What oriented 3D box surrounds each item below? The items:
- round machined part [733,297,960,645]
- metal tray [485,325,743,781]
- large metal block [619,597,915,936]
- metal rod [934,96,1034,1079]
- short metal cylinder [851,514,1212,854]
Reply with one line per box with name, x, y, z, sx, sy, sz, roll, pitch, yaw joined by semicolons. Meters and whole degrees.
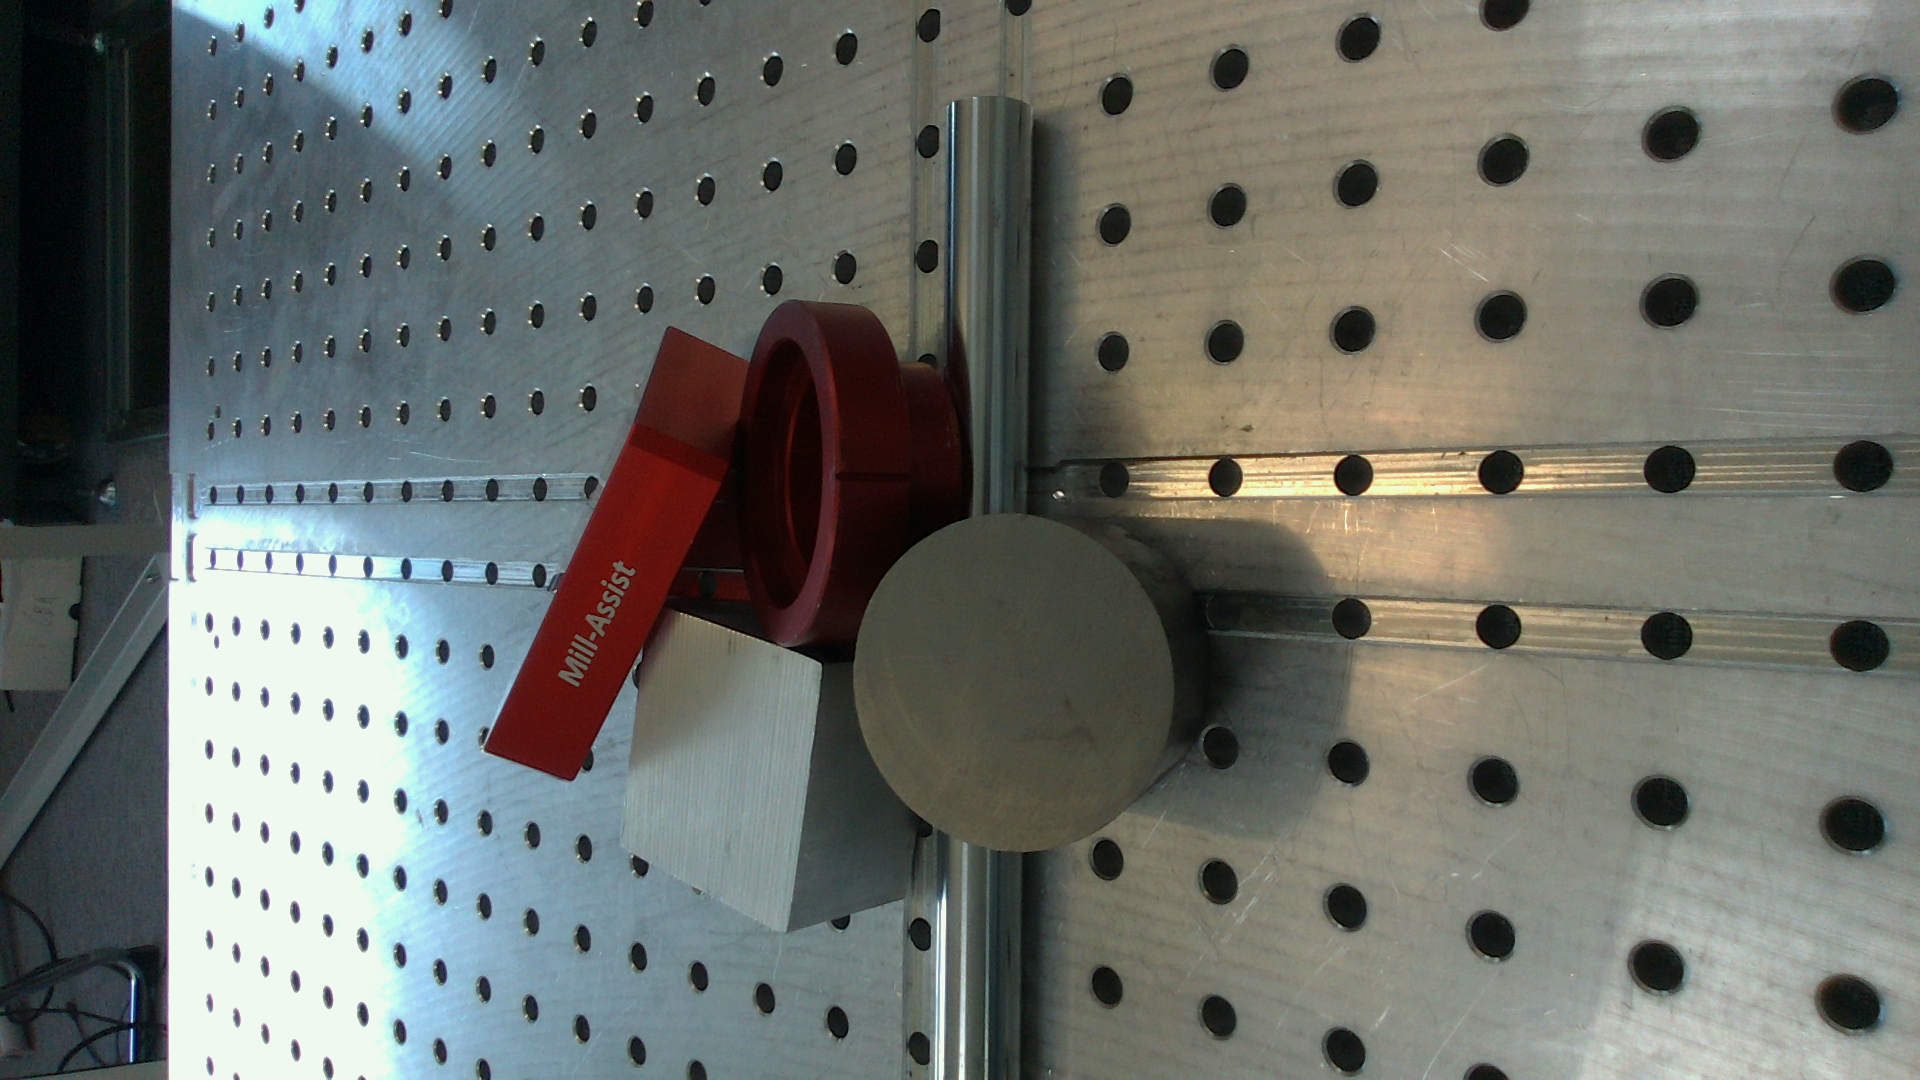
round machined part;-0.033;-0.019;0.397;0.098;0.042;0.098;-179;90;-66
metal tray;-0.113;0.004;0.457;0.130;0.030;0.090;-59;18;23
large metal block;-0.058;0.066;0.430;0.080;0.050;0.080;13;99;39
metal rod;0.007;0.027;0.393;0.025;0.025;0.300;1;91;40
short metal cylinder;0.019;0.034;0.348;0.080;0.050;0.080;0;90;20
